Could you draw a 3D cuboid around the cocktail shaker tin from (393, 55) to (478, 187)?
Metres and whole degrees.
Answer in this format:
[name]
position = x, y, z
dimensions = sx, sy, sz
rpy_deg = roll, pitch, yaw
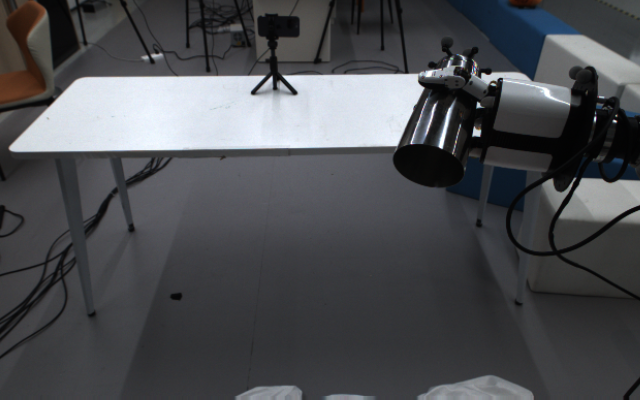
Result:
[cocktail shaker tin]
position = 0.167, -0.113, 0.646
dimensions = 0.093, 0.093, 0.170
rpy_deg = 14, 62, 17
